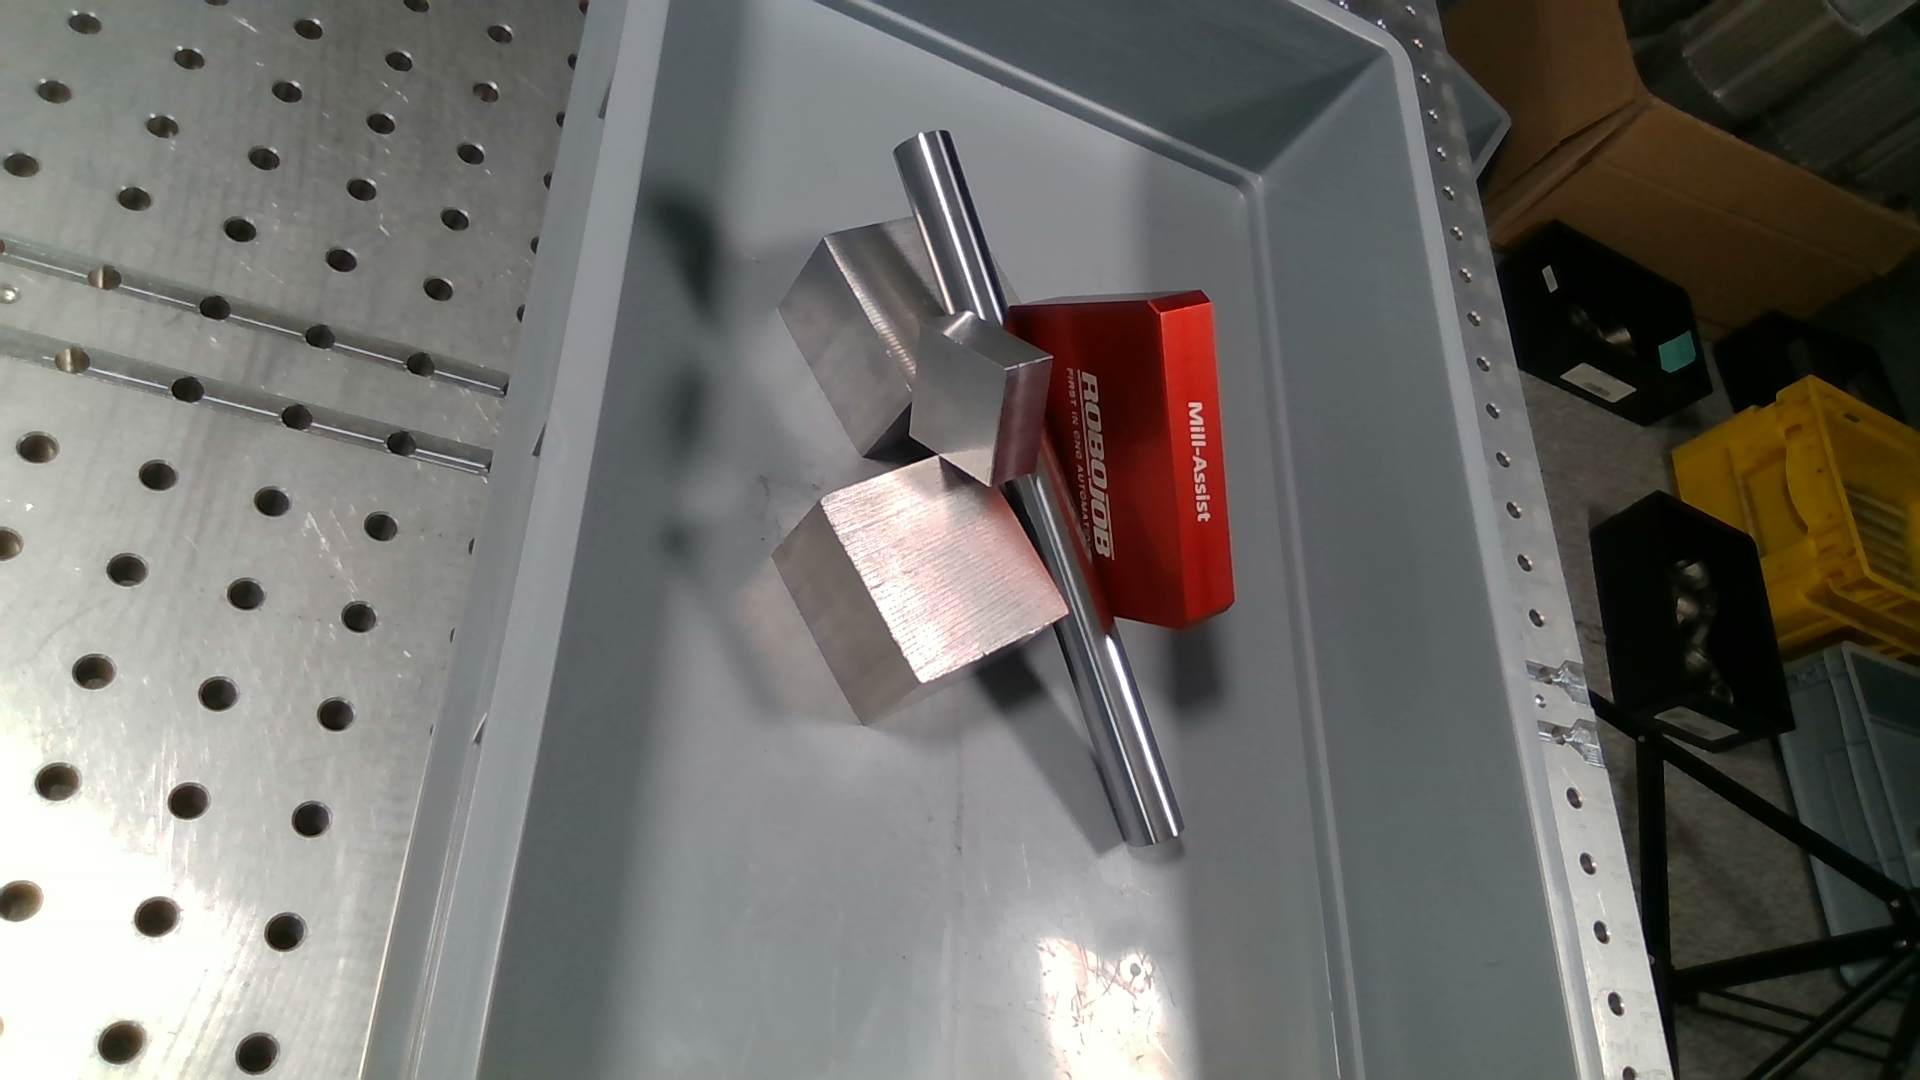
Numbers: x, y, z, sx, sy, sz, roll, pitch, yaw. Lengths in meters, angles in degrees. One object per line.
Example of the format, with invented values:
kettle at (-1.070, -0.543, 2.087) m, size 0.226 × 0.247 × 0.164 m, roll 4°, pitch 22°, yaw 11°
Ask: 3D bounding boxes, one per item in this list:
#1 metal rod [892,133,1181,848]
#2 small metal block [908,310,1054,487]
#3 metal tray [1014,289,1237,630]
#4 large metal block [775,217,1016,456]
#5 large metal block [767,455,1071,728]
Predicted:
metal rod at (0.032, -0.019, 0.567) m, size 0.025 × 0.025 × 0.300 m, roll -20°, pitch 92°, yaw -37°
small metal block at (0.007, -0.056, 0.540) m, size 0.025 × 0.050 × 0.050 m, roll -19°, pitch 39°, yaw -37°
metal tray at (0.066, -0.035, 0.567) m, size 0.030 × 0.090 × 0.130 m, roll -17°, pitch 107°, yaw -36°
large metal block at (-0.020, -0.093, 0.603) m, size 0.080 × 0.050 × 0.080 m, roll -22°, pitch 78°, yaw -38°
large metal block at (-0.017, 0.017, 0.550) m, size 0.080 × 0.050 × 0.080 m, roll -22°, pitch 78°, yaw -38°
